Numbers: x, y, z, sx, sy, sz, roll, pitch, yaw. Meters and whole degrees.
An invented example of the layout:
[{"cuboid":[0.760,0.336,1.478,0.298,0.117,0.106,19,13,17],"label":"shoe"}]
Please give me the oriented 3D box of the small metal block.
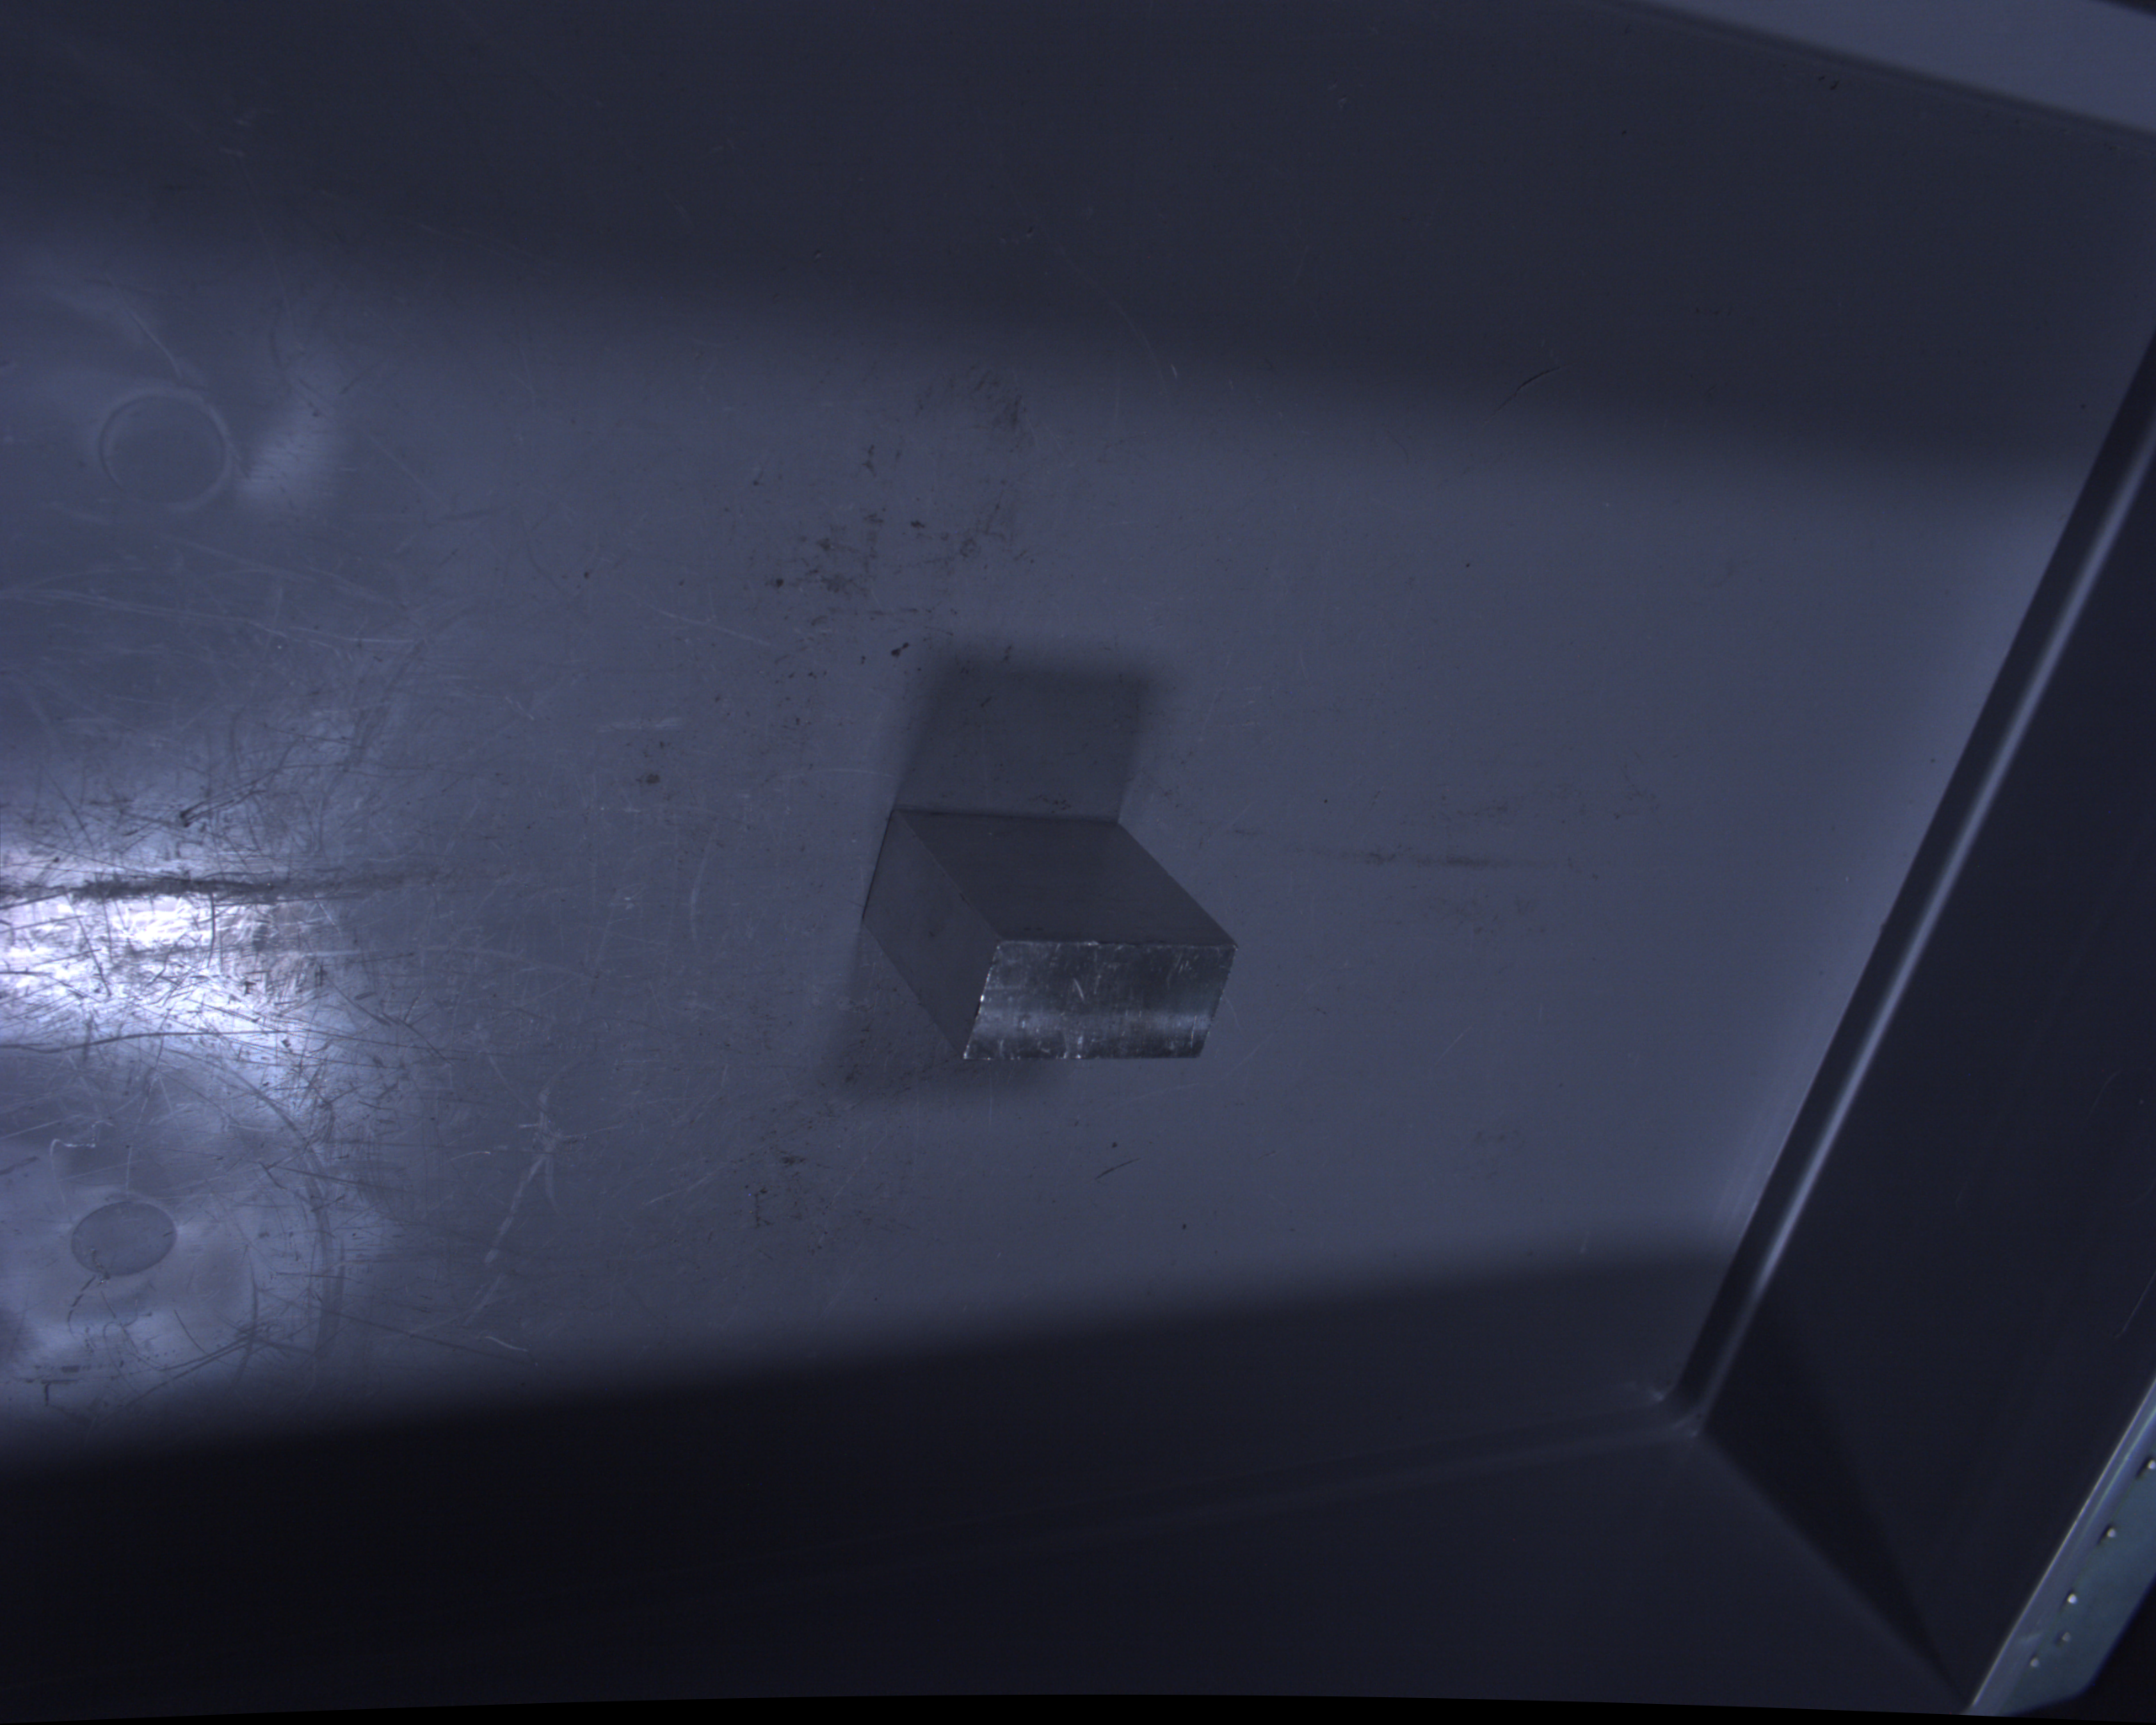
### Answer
[{"cuboid":[-0.006,0.013,0.394,0.050,0.050,0.025,3,117,-30],"label":"small metal block"}]
